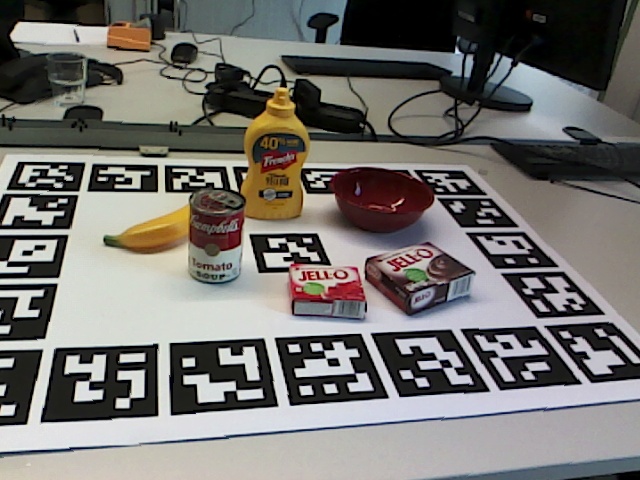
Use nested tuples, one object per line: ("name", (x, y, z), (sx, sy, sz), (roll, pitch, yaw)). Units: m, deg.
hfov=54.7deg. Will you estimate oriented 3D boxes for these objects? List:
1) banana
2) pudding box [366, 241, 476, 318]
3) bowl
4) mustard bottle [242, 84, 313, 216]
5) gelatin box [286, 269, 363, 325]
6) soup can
("banana", (-0.205, -0.034, 0.877), (0.075, 0.039, 0.196), (12, 28, 28))
("pudding box", (0.130, 0.049, 0.809), (0.113, 0.038, 0.090), (-15, 42, -34))
("bowl", (0.099, -0.052, 0.967), (0.161, 0.055, 0.162), (4, 29, -3))
("mustard bottle", (-0.060, -0.130, 0.902), (0.096, 0.191, 0.059), (0, 28, -14))
("gelatin box", (0.003, 0.068, 0.756), (0.089, 0.030, 0.073), (3, 33, -7))
("soup can", (-0.136, -0.012, 0.772), (0.068, 0.102, 0.068), (7, 28, -4))
